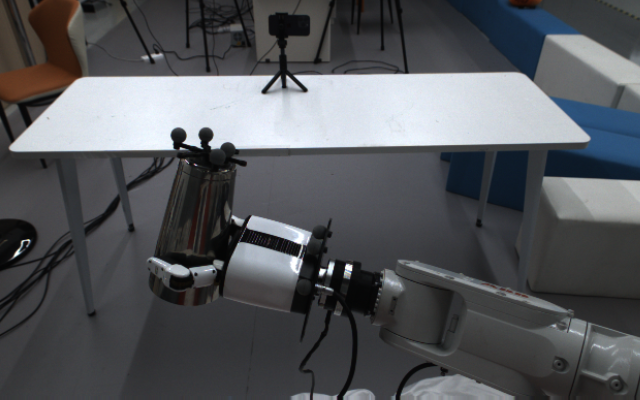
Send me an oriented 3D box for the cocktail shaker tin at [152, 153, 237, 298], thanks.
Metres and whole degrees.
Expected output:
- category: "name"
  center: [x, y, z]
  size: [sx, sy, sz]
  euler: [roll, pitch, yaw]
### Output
- category: "cocktail shaker tin"
  center: [-0.149, 0.032, 0.588]
  size: [0.093, 0.170, 0.093]
  euler: [13, 20, -5]
